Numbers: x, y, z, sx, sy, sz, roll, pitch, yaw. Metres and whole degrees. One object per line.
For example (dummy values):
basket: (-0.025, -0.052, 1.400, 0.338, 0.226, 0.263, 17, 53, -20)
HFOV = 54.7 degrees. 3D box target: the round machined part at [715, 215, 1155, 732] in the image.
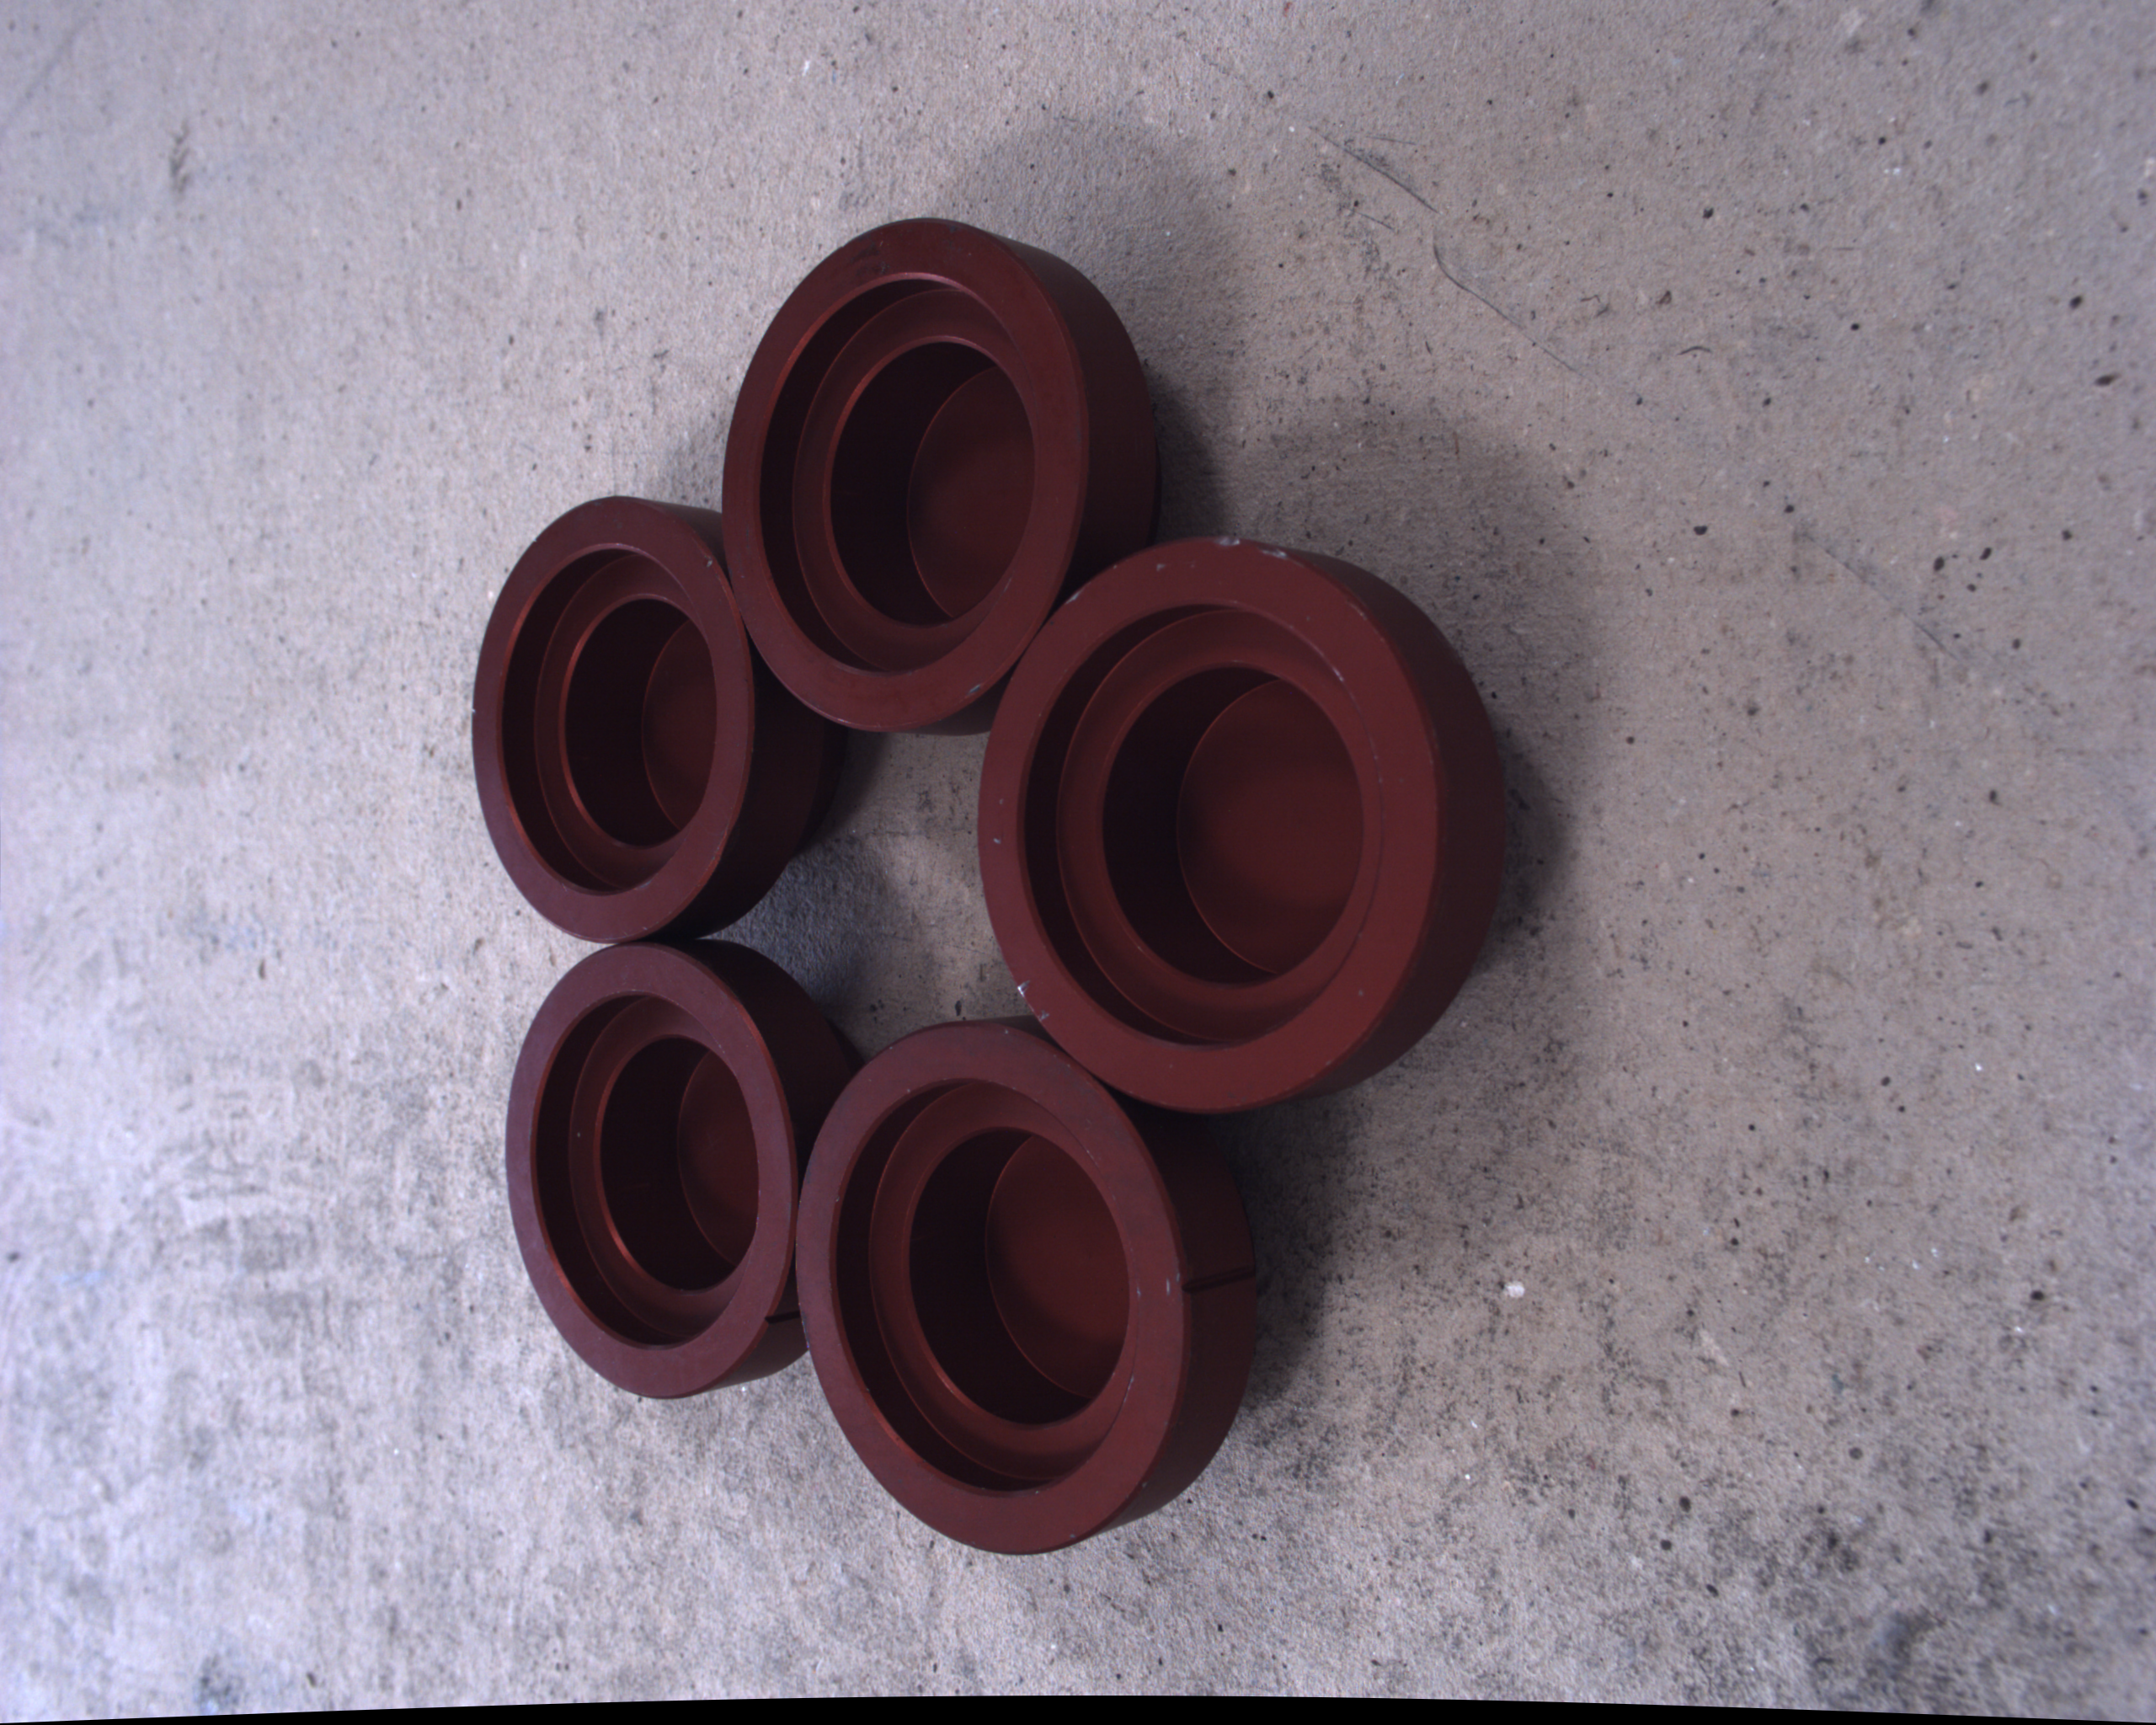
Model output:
round machined part: (-0.024, -0.074, 0.414, 0.098, 0.042, 0.097, -1, 88, 39)

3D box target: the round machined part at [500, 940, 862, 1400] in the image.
round machined part: (-0.081, 0.066, 0.462, 0.098, 0.042, 0.097, -1, 88, 39)

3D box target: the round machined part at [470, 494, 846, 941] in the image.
round machined part: (-0.091, -0.031, 0.470, 0.098, 0.042, 0.097, -1, 88, 39)

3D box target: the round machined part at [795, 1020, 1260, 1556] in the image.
round machined part: (-0.005, 0.078, 0.400, 0.098, 0.042, 0.097, 0, 89, 39)

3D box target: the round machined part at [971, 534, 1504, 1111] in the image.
round machined part: (0.031, -0.007, 0.369, 0.098, 0.042, 0.097, -1, 88, 39)
